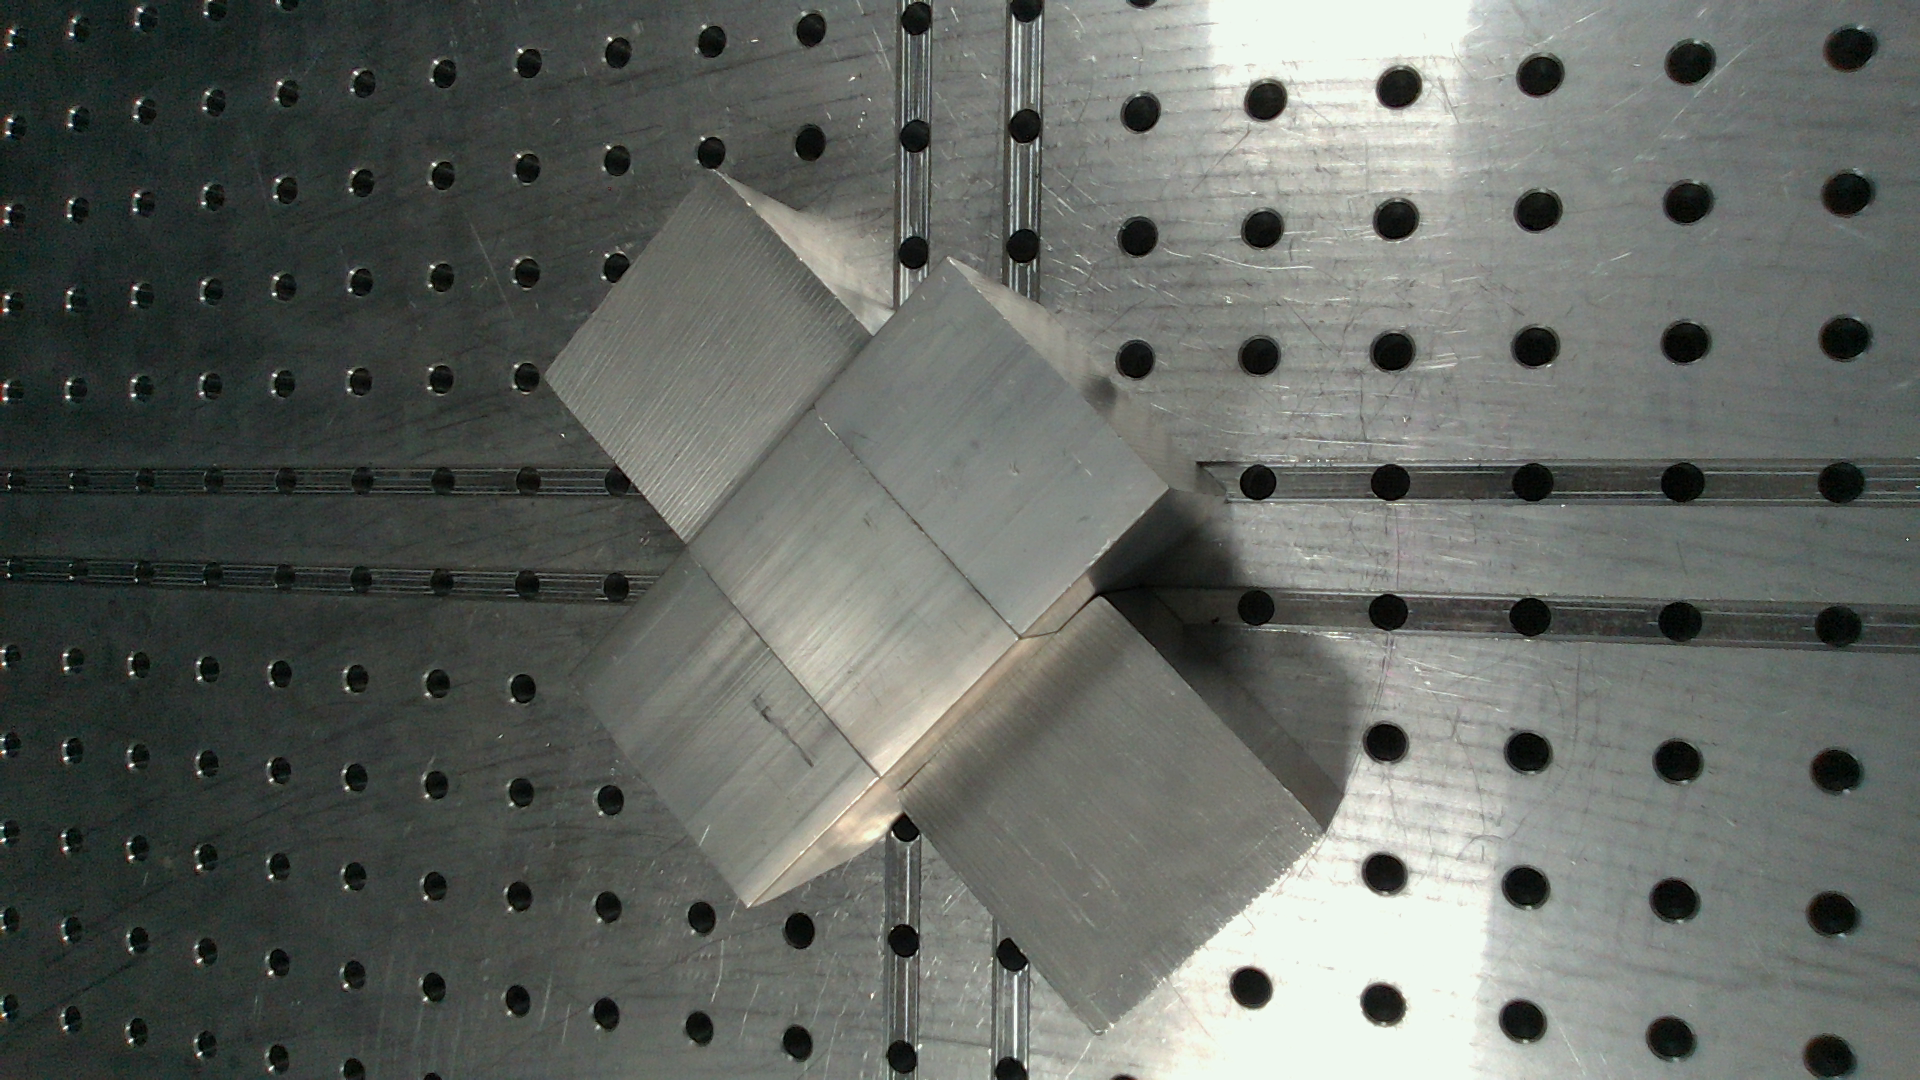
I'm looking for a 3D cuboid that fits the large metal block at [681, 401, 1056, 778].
[{"bbox_3d":[-0.015,0.012,0.375,0.050,0.080,0.080,-46,76,14],"label":"large metal block"}]

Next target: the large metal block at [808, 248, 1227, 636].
[{"bbox_3d":[0.019,-0.024,0.363,0.050,0.080,0.080,-46,76,14],"label":"large metal block"}]

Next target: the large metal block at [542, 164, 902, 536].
[{"bbox_3d":[-0.060,-0.048,0.404,0.080,0.050,0.080,46,105,14],"label":"large metal block"}]

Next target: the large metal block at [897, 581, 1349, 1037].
[{"bbox_3d":[0.044,0.069,0.369,0.080,0.050,0.080,-46,76,15],"label":"large metal block"}]

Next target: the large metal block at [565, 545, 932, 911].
[{"bbox_3d":[-0.048,0.047,0.387,0.050,0.080,0.080,-46,76,14],"label":"large metal block"}]
